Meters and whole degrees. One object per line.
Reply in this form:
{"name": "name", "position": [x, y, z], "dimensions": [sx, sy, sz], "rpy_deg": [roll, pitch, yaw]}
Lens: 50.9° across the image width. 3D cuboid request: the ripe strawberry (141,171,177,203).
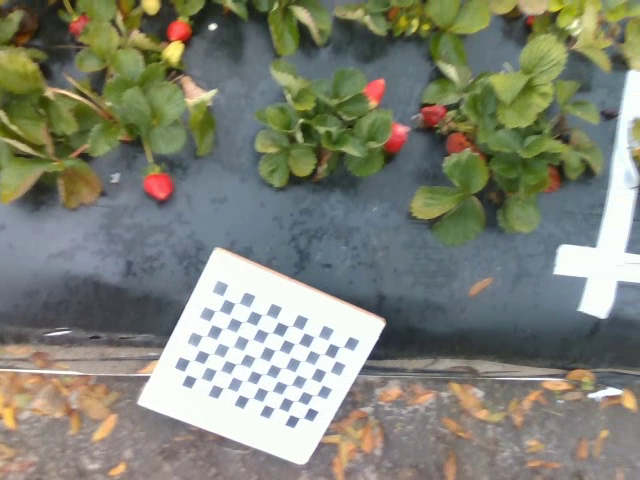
{"name": "ripe strawberry", "position": [-0.248, -0.081, 1.026], "dimensions": [0.045, 0.054, 0.048], "rpy_deg": [-24, -28, 3]}
